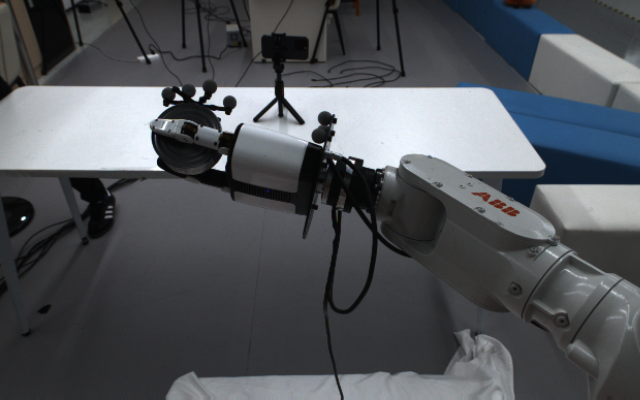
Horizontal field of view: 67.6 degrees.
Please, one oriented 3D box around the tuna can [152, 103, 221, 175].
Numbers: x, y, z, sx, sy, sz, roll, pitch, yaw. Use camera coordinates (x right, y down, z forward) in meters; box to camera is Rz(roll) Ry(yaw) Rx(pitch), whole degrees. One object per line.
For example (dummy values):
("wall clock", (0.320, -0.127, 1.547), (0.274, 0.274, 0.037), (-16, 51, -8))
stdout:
("tuna can", (-0.164, -0.076, 0.606), (0.085, 0.034, 0.085), (1, 72, -2))
